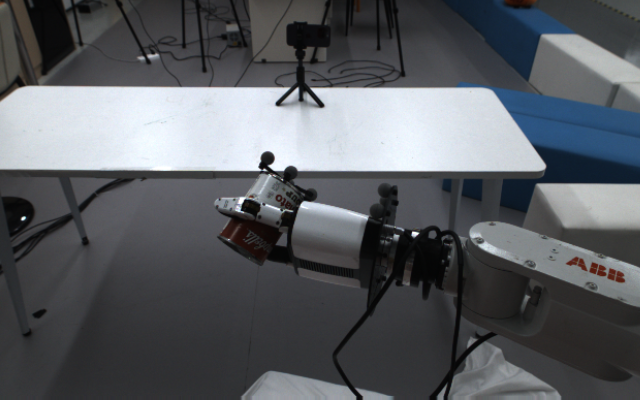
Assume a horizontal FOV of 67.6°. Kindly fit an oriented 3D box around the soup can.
[{"bbox_3d":[-0.074,0.024,0.614,0.067,0.067,0.101,24,73,29],"label":"soup can"}]
